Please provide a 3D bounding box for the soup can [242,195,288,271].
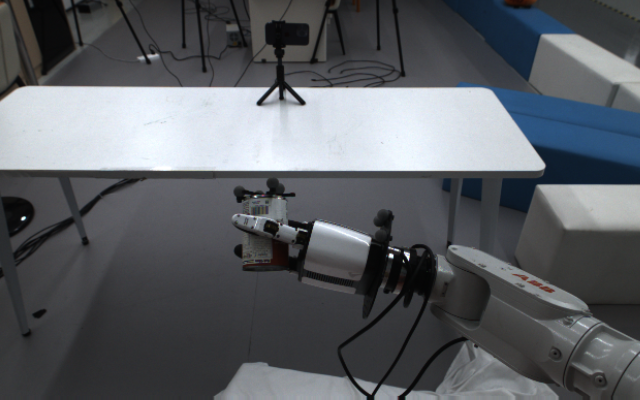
[{"bbox_3d":[-0.078,0.049,0.692,0.067,0.067,0.101,-1,76,-4],"label":"soup can"}]
